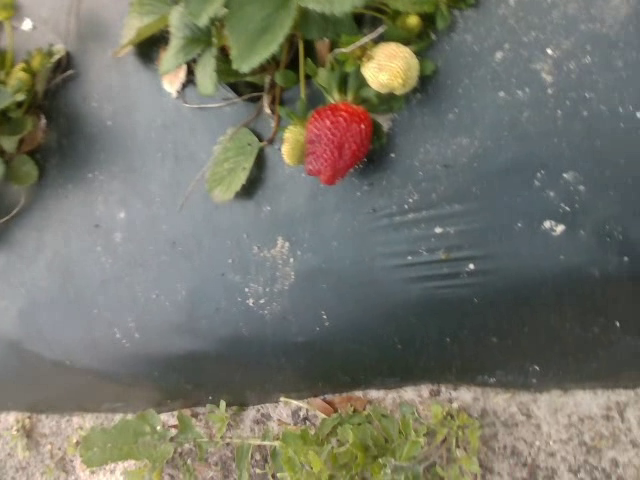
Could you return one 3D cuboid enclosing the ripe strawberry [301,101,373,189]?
[{"bbox_3d":[0.011,-0.054,0.352,0.046,0.059,0.045,-9,-34,36],"label":"ripe strawberry"}]
